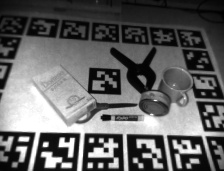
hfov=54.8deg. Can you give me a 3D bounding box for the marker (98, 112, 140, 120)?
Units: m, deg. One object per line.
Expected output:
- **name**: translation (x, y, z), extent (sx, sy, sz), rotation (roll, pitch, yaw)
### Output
- **marker**: translation (0.020, 0.086, 0.610), extent (0.121, 0.020, 0.019), rotation (-1, 58, -8)

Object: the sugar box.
- **sugar box**: translation (-0.131, 0.015, 0.612), extent (0.093, 0.045, 0.174), rotation (-30, 60, -25)

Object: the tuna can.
- **tuna can**: translation (0.124, 0.044, 0.613), extent (0.085, 0.086, 0.034), rotation (17, 56, 4)

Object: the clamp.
- **clamp**: translation (0.089, -0.058, 0.717), extent (0.166, 0.037, 0.201), rotation (-6, 59, -12)

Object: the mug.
- **mug**: translation (0.182, 0.005, 0.653), extent (0.094, 0.082, 0.116), rotation (-21, 59, -20)

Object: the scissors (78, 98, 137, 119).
- **scissors**: translation (-0.026, 0.048, 0.626), extent (0.204, 0.016, 0.087), rotation (-6, 54, -14)
